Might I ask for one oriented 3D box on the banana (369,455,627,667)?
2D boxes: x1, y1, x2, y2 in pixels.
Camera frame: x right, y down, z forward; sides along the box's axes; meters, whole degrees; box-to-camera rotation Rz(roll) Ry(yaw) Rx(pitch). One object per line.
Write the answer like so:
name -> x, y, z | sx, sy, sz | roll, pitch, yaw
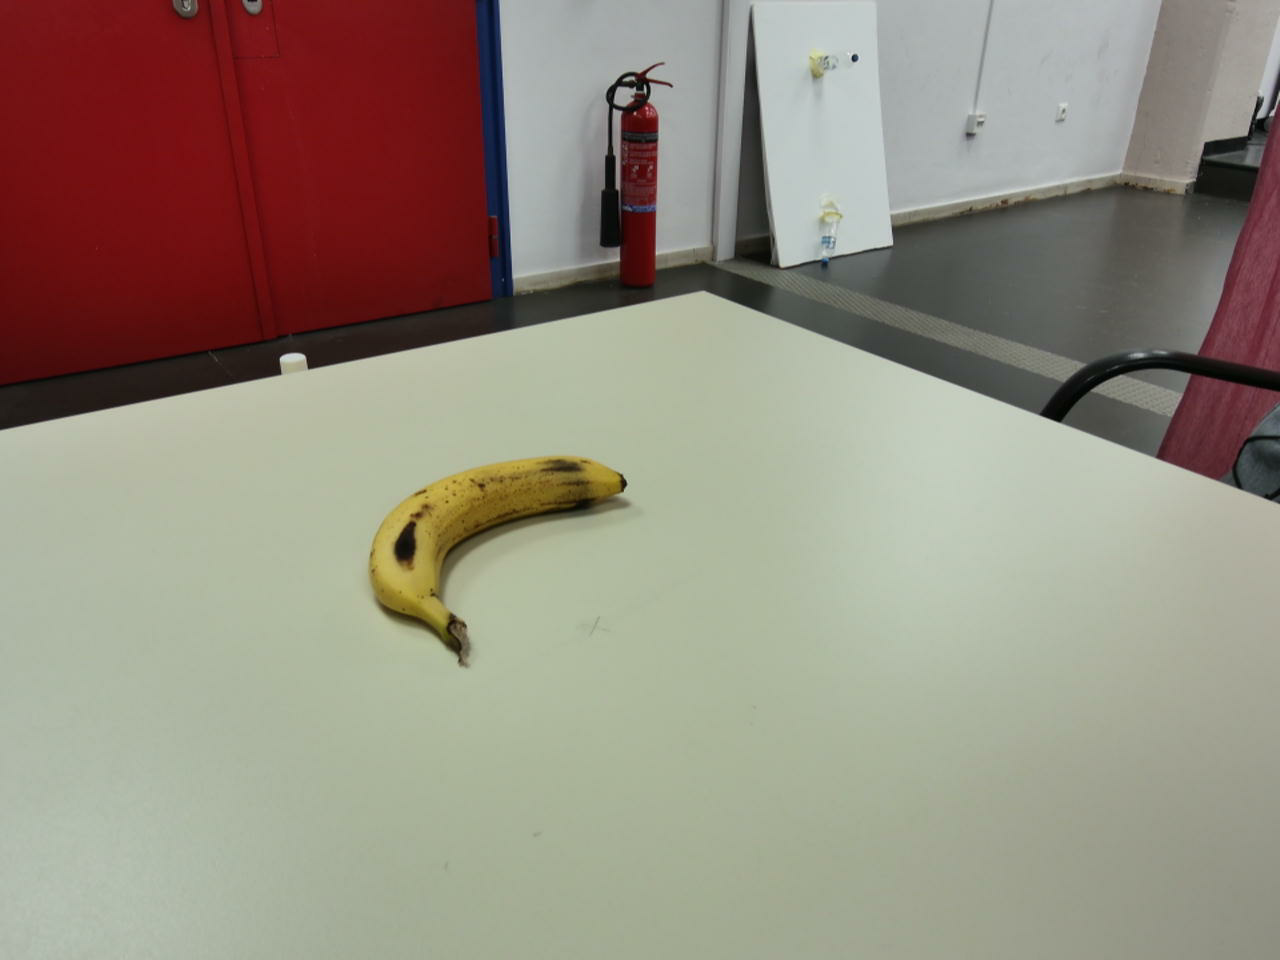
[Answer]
banana -> -0.088, 0.026, 0.577 | 0.097, 0.038, 0.186 | 13, 28, 23
